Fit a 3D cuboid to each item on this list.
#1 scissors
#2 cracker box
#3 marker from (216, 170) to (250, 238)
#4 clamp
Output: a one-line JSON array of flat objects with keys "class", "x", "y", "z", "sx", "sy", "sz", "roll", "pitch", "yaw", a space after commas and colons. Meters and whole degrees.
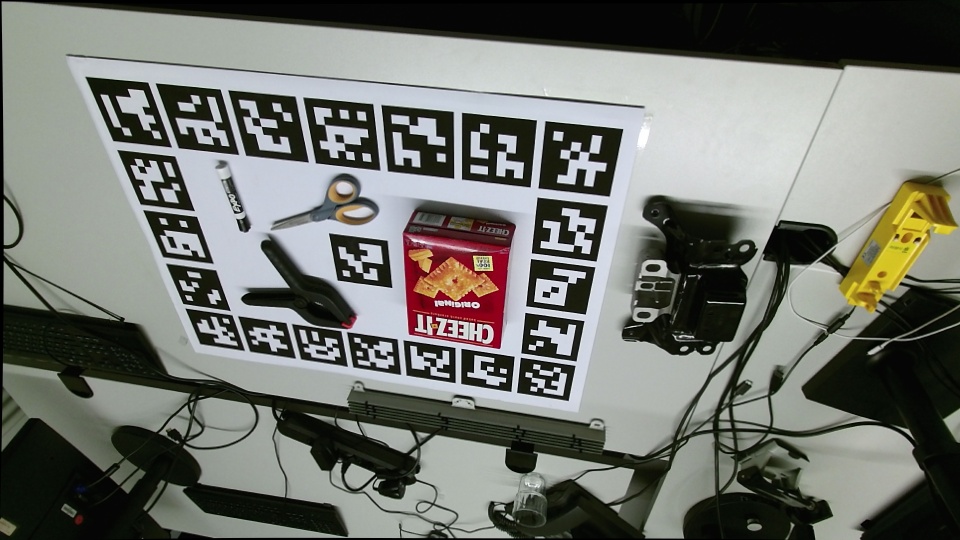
[{"class": "scissors", "x": -0.260, "y": -0.084, "z": 0.861, "sx": 0.203, "sy": 0.016, "sz": 0.088, "roll": -17, "pitch": 123, "yaw": 25}, {"class": "cracker box", "x": -0.036, "y": 0.023, "z": 0.864, "sx": 0.165, "sy": 0.072, "sz": 0.213, "roll": 8, "pitch": 128, "yaw": 6}, {"class": "marker", "x": -0.401, "y": -0.104, "z": 0.873, "sx": 0.020, "sy": 0.019, "sz": 0.121, "roll": 4, "pitch": 128, "yaw": 8}, {"class": "clamp", "x": -0.314, "y": 0.057, "z": 0.984, "sx": 0.203, "sy": 0.036, "sz": 0.165, "roll": 31, "pitch": 128, "yaw": -11}]
